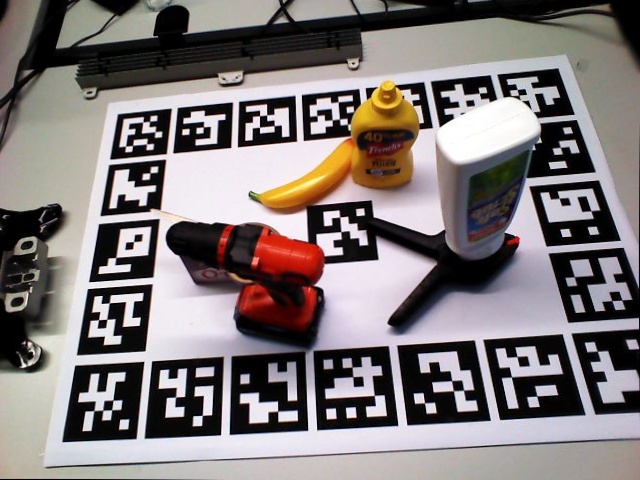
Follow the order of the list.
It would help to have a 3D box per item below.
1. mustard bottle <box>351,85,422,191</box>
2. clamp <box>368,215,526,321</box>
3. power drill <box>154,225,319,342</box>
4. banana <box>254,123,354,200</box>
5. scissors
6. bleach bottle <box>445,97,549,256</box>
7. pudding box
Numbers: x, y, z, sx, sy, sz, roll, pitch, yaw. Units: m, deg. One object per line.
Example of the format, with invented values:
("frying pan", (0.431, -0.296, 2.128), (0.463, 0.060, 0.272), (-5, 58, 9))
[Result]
("mustard bottle", (0.093, -0.143, 0.727), (0.096, 0.192, 0.058), (9, 63, 10))
("clamp", (0.177, 0.015, 0.700), (0.203, 0.037, 0.164), (-10, 64, 0))
("power drill", (-0.085, 0.051, 0.611), (0.185, 0.187, 0.057), (6, 56, 13))
("banana", (-0.009, -0.116, 0.799), (0.197, 0.039, 0.074), (-40, 48, -13))
("scissors", (-0.154, -0.018, 0.669), (0.203, 0.016, 0.087), (20, 71, 11))
("bleach bottle", (0.202, -0.050, 0.612), (0.103, 0.251, 0.067), (-24, 58, 2))
("pudding box", (-0.139, 0.018, 0.722), (0.114, 0.090, 0.038), (-1, 56, 6))
